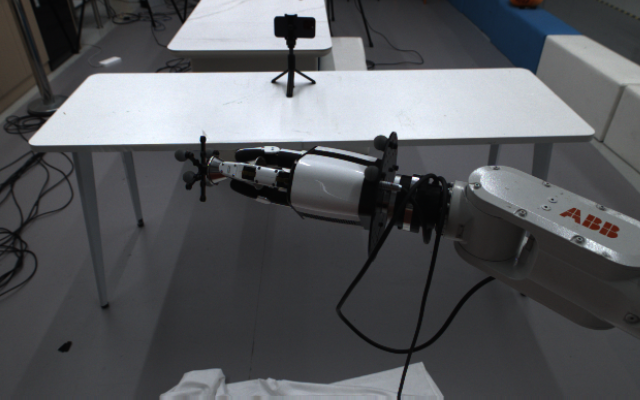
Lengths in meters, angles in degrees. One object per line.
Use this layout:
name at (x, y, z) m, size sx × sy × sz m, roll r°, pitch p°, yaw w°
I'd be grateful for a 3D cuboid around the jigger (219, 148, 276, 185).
jigger at (-0.105, -0.043, 0.644) m, size 0.071 × 0.043 × 0.043 m, roll 4°, pitch 34°, yaw 16°
